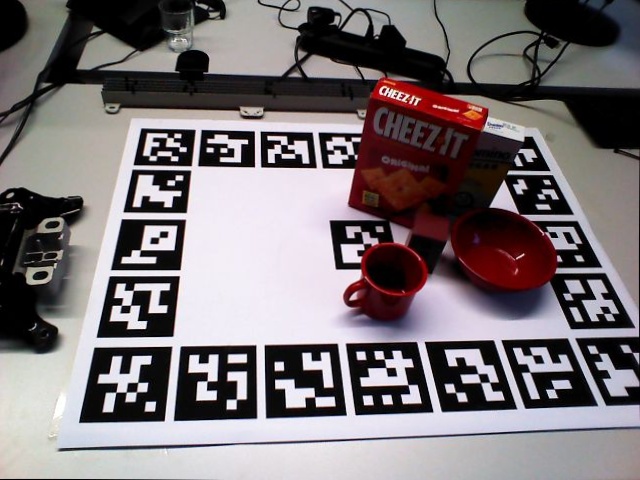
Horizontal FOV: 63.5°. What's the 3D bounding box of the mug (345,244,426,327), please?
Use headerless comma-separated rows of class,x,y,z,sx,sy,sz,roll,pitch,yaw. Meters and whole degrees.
mug,0.091,0.067,0.711,0.117,0.082,0.093,-8,43,-10

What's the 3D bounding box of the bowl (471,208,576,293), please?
bowl,0.290,0.025,0.776,0.162,0.055,0.160,3,51,-4

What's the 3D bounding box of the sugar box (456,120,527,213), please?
sugar box,0.257,-0.118,0.827,0.093,0.177,0.045,16,50,8

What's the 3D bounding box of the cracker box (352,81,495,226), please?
cracker box,0.149,-0.120,0.794,0.165,0.215,0.071,24,49,12

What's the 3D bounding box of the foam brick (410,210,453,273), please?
foam brick,0.166,0.003,0.786,0.053,0.078,0.051,12,49,5
